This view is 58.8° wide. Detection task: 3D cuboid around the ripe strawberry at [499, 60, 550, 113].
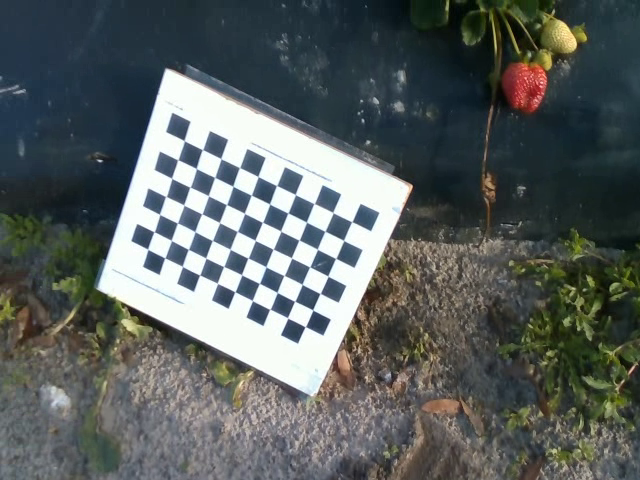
[{"bbox_3d":[0.220,-0.150,0.577,0.048,0.050,0.035,5,7,8],"label":"ripe strawberry"}]
